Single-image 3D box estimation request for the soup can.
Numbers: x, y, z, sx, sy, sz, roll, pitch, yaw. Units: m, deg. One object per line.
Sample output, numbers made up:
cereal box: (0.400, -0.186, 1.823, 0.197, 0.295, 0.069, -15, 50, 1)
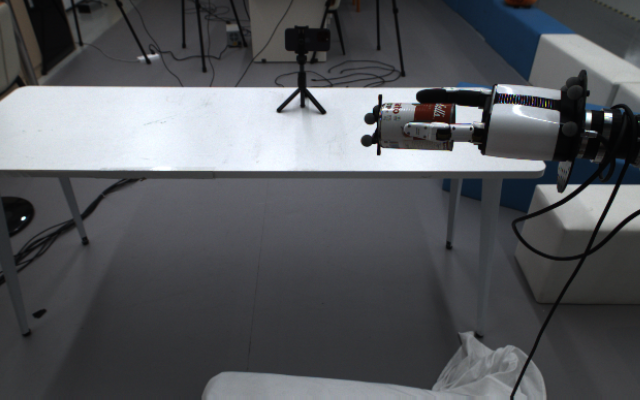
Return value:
soup can: (0.142, -0.107, 0.700, 0.101, 0.067, 0.067, 4, 34, 18)
